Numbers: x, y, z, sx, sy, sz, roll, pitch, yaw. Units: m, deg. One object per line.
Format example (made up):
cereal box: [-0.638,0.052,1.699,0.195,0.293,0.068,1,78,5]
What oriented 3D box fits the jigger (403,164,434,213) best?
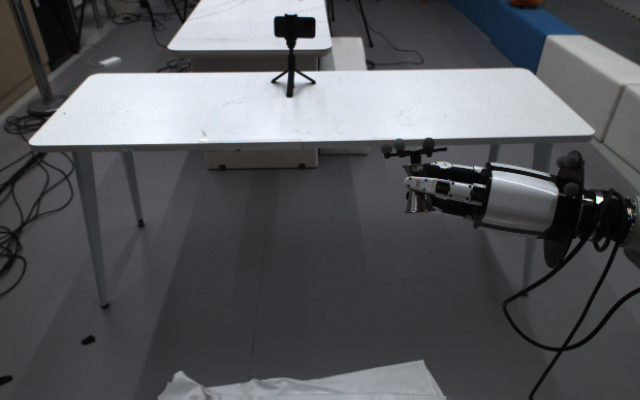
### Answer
jigger: [0.139,-0.018,0.690,0.043,0.071,0.043,-4,1,0]
